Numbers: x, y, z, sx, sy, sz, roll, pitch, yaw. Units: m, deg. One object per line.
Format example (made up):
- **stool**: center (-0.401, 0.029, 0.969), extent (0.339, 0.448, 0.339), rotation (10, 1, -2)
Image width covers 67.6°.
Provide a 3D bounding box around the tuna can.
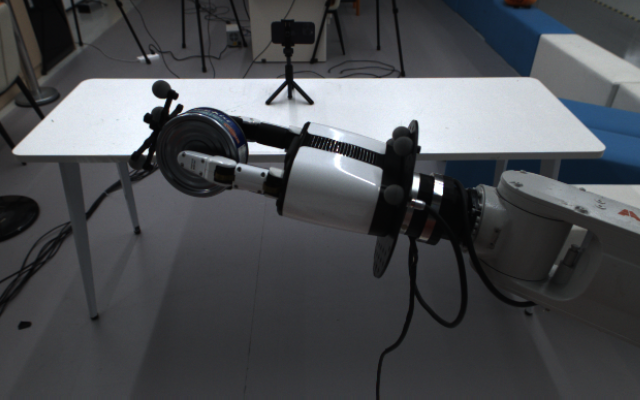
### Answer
- **tuna can**: center (-0.114, -0.048, 0.480), extent (0.085, 0.085, 0.034), rotation (6, 20, 5)
